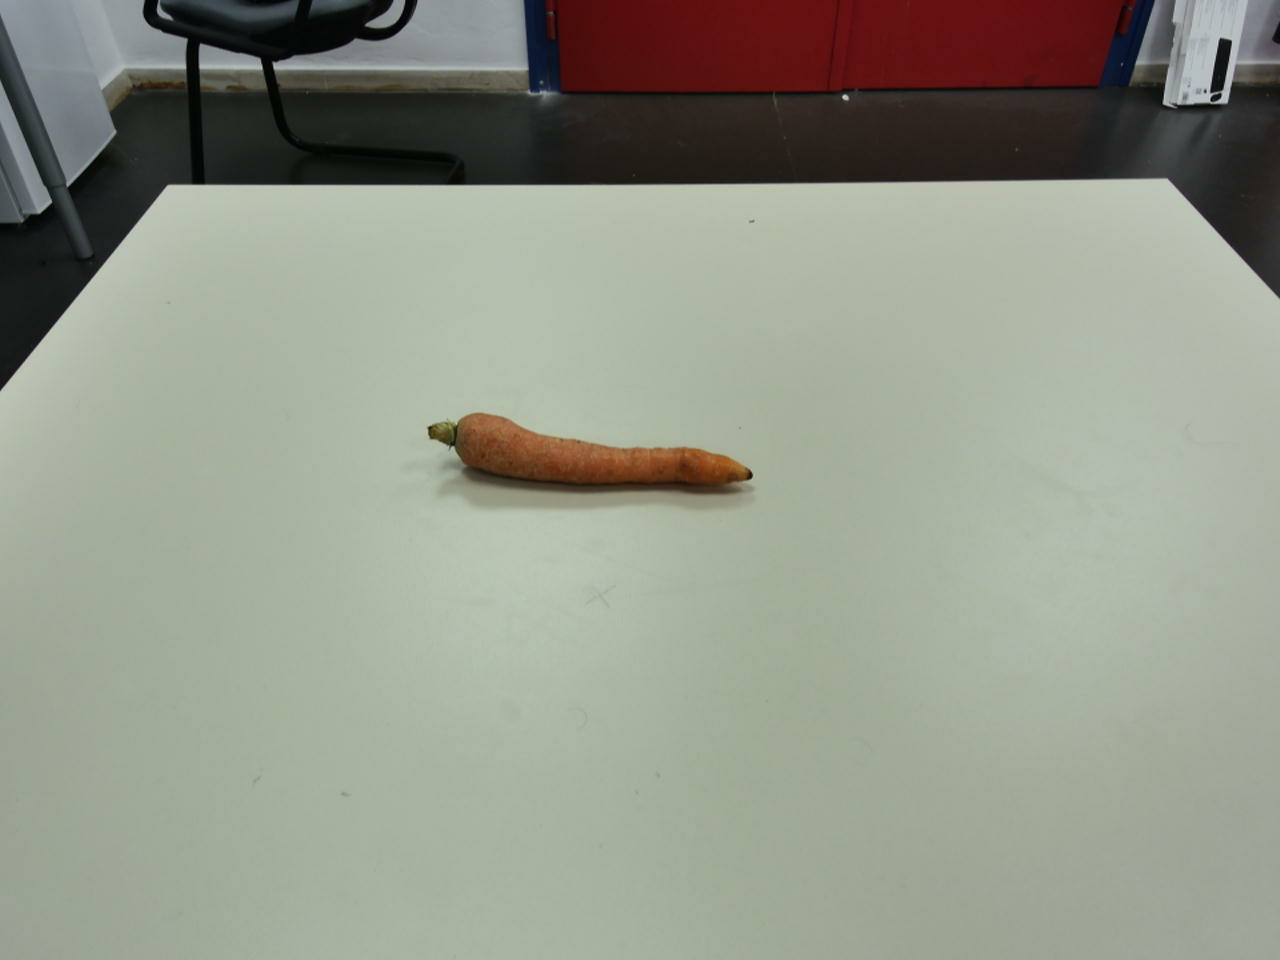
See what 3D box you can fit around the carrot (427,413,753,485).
[{"bbox_3d":[-0.027,-0.014,0.524,0.173,0.032,0.030,6,39,7],"label":"carrot"}]
